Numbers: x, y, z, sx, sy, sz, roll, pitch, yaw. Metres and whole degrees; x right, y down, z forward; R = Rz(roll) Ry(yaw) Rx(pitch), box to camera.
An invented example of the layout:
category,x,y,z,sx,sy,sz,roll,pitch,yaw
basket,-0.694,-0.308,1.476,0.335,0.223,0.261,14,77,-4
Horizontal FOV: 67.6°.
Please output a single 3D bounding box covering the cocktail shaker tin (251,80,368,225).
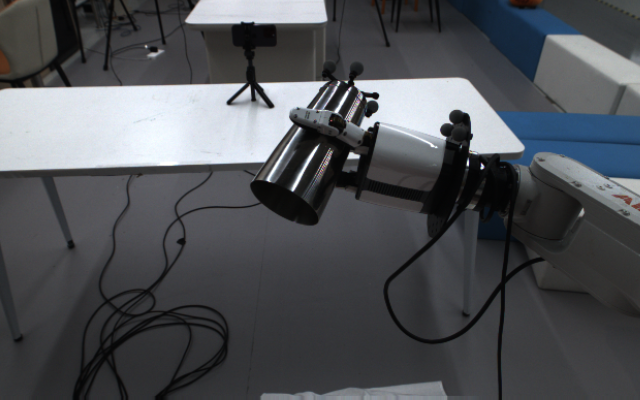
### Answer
category,x,y,z,sx,sy,sz,roll,pitch,yaw
cocktail shaker tin,-0.002,-0.068,0.598,0.093,0.093,0.170,18,66,21
